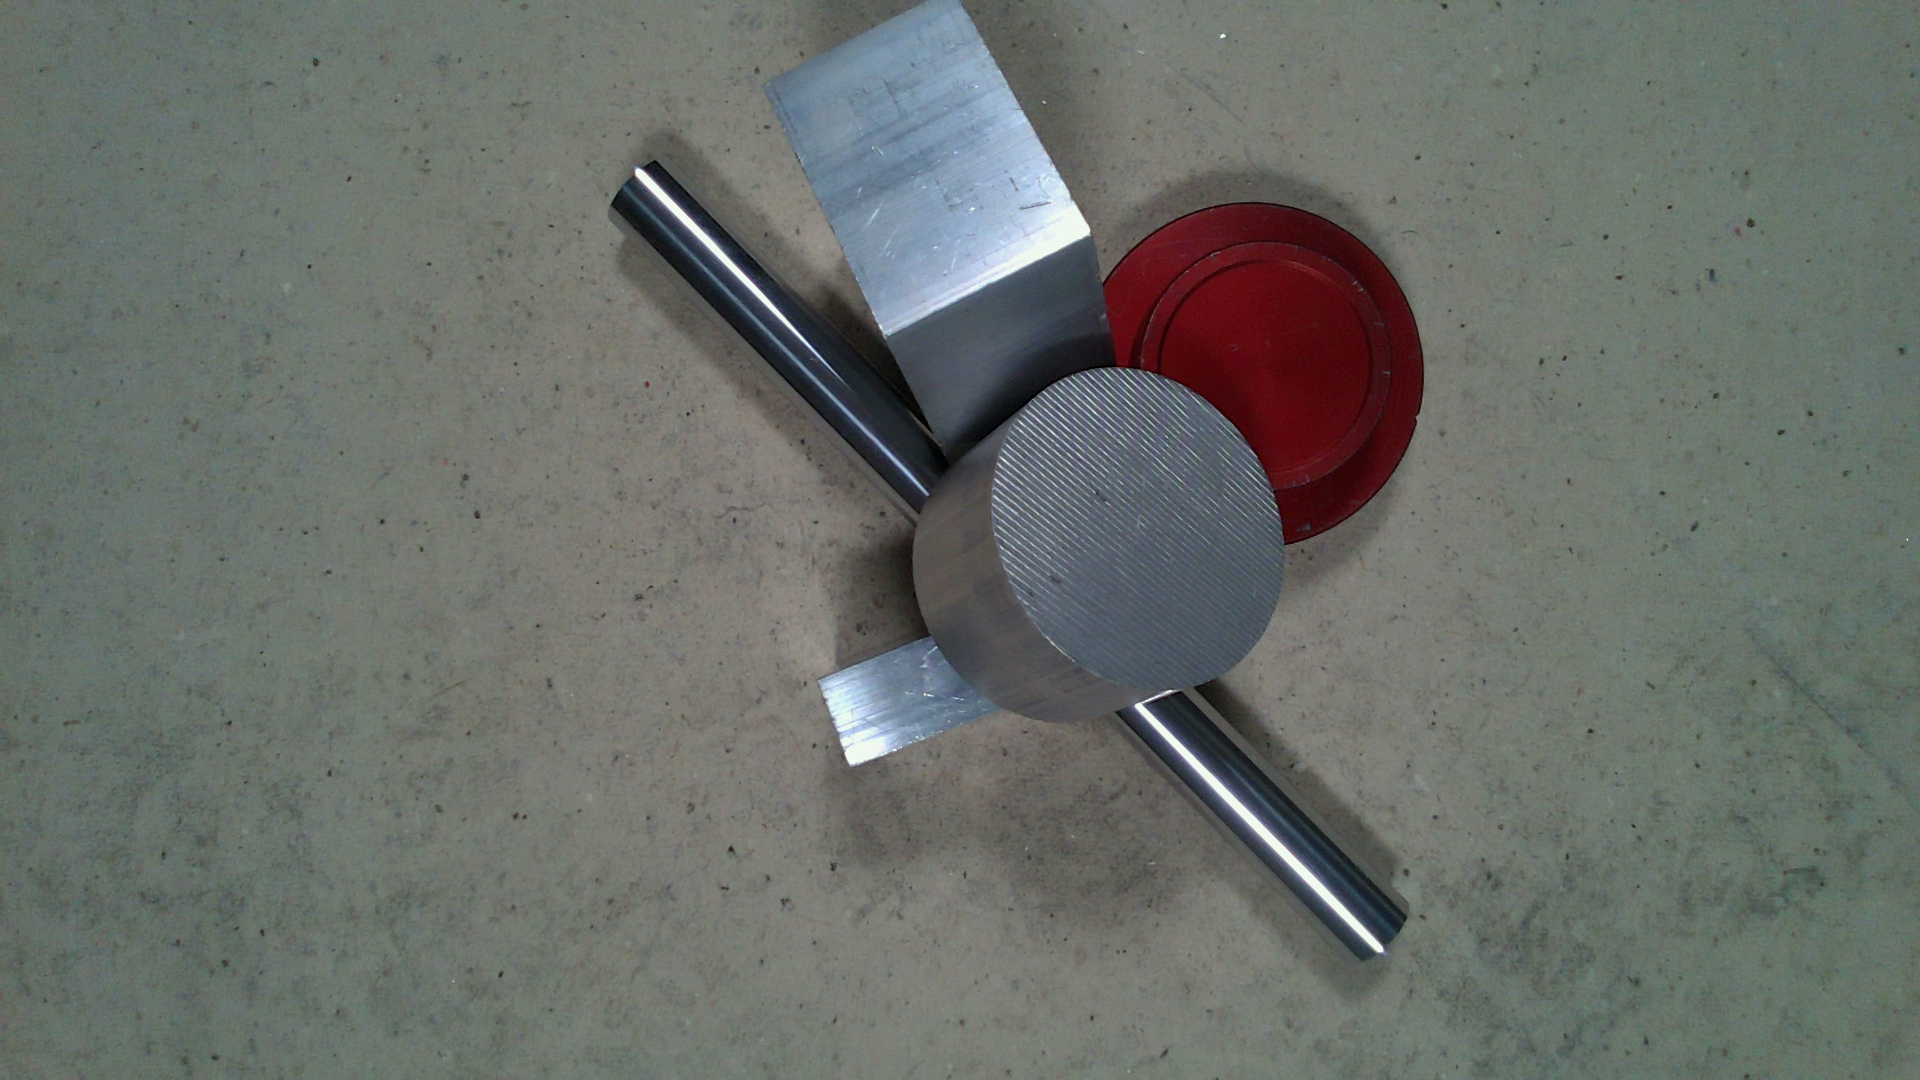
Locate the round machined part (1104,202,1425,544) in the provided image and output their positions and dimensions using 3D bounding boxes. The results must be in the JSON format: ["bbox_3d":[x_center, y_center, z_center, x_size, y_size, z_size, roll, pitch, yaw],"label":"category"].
[{"bbox_3d":[0.082,-0.046,0.386,0.098,0.042,0.098,0,90,0],"label":"round machined part"}]

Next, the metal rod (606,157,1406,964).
[{"bbox_3d":[0.013,0.006,0.396,0.025,0.025,0.300,-45,90,0],"label":"metal rod"}]

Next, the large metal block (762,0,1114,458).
[{"bbox_3d":[-0.002,-0.077,0.357,0.050,0.080,0.080,-27,68,2],"label":"large metal block"}]

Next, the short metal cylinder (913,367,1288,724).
[{"bbox_3d":[0.034,0.003,0.346,0.080,0.050,0.080,7,72,-21],"label":"short metal cylinder"}]

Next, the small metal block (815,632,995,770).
[{"bbox_3d":[-0.010,0.040,0.384,0.050,0.050,0.025,-21,89,0],"label":"small metal block"}]
